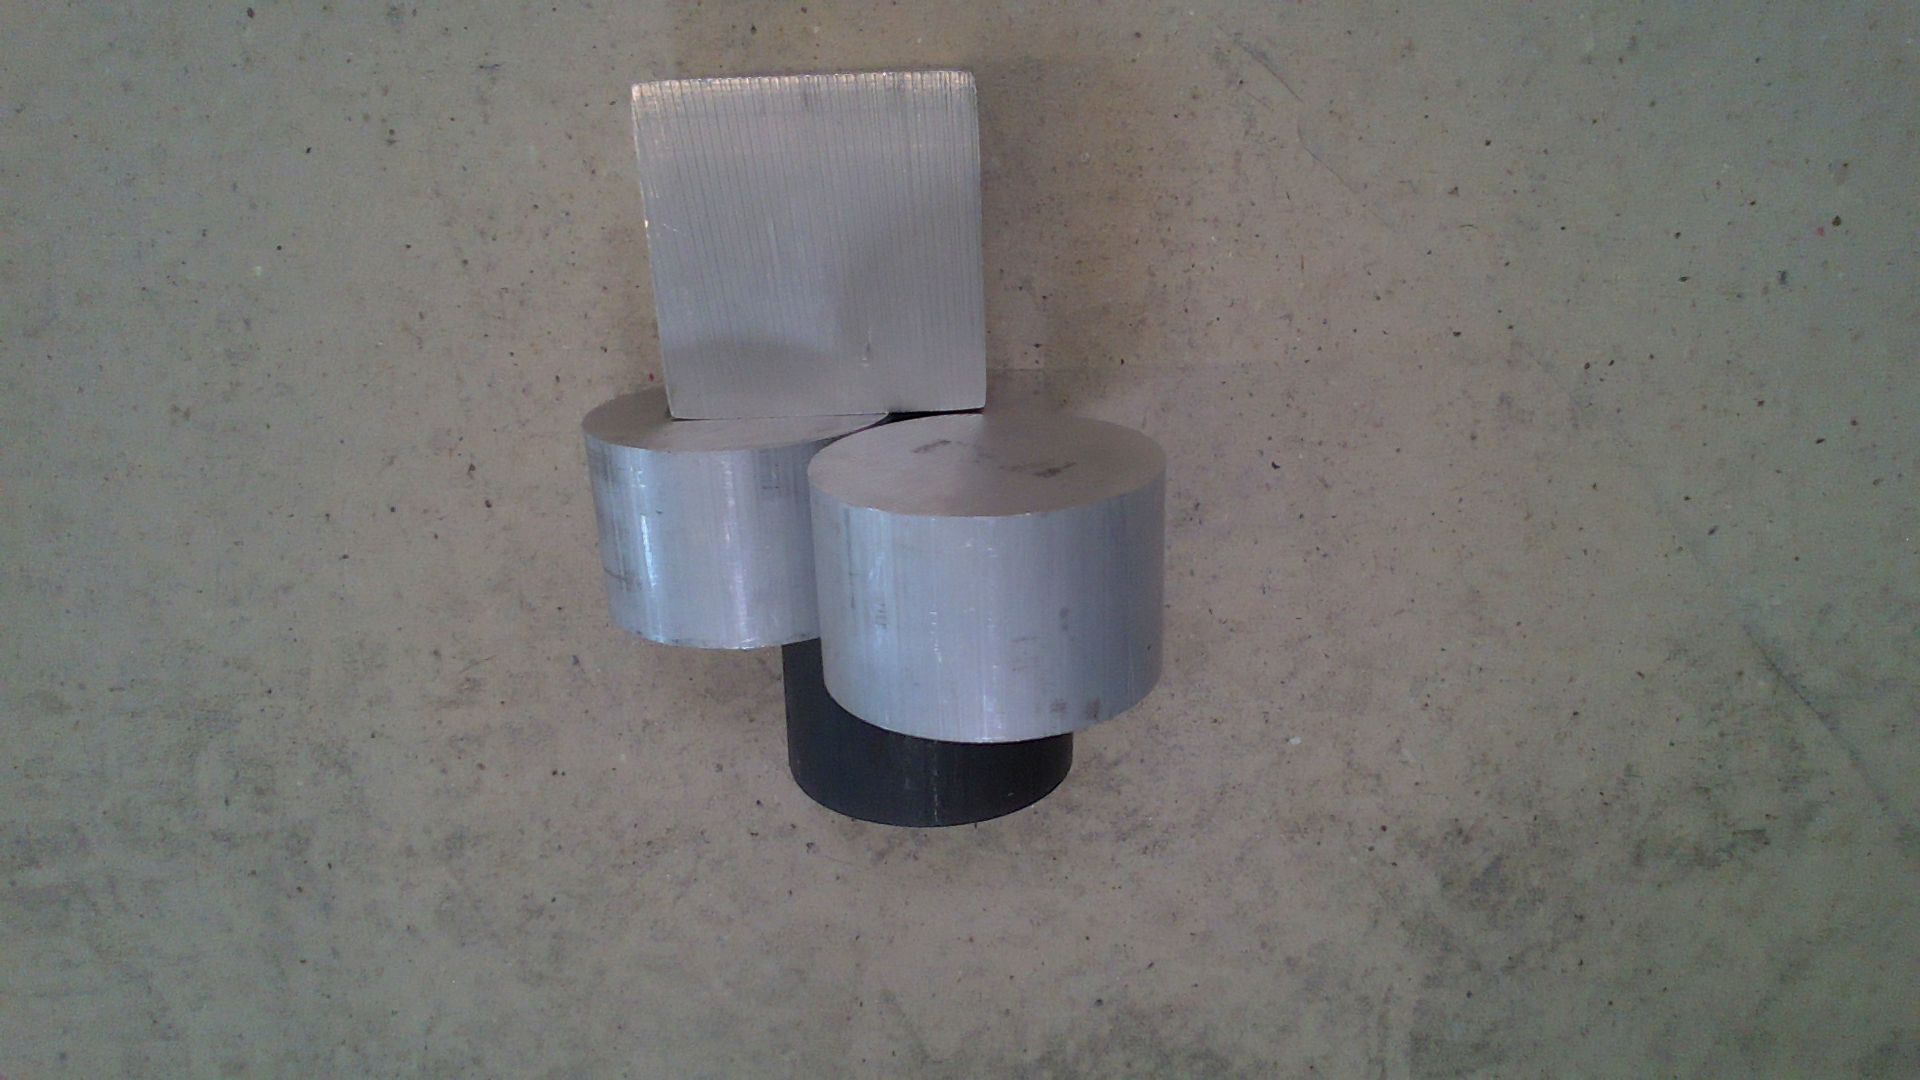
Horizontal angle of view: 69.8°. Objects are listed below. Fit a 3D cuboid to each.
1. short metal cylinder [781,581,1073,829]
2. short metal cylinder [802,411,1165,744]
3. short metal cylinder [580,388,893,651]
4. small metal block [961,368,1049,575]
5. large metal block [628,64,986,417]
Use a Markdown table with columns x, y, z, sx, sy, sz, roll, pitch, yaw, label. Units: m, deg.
| x | y | z | sx | sy | sz | roll | pitch | yaw | label |
| --- | --- | --- | --- | --- | --- | --- | --- | --- | --- |
| -0.009 | 0.036 | 0.379 | 0.080 | 0.080 | 0.050 | 0 | 110 | 0 | short metal cylinder |
| 0.006 | 0.005 | 0.314 | 0.080 | 0.080 | 0.050 | -2 | 110 | 1 | short metal cylinder |
| -0.055 | -0.011 | 0.361 | 0.080 | 0.080 | 0.050 | -2 | 110 | 1 | short metal cylinder |
| 0.010 | -0.017 | 0.377 | 0.025 | 0.050 | 0.050 | 1 | 110 | 0 | small metal block |
| -0.035 | -0.078 | 0.353 | 0.080 | 0.050 | 0.080 | -2 | 110 | 1 | large metal block |
